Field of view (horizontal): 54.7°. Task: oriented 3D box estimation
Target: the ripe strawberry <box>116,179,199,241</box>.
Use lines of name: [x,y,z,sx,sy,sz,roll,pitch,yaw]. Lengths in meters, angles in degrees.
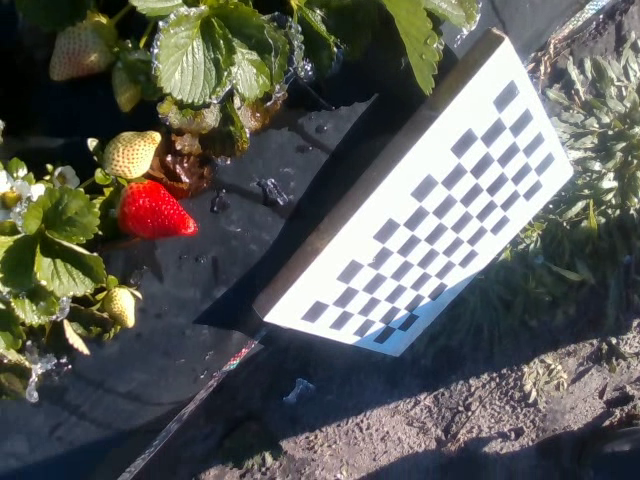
ripe strawberry: [-0.096,-0.014,0.367,0.053,0.040,0.042,24,36,17]
